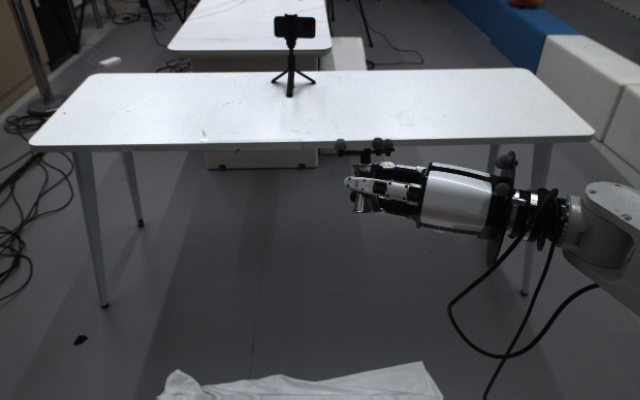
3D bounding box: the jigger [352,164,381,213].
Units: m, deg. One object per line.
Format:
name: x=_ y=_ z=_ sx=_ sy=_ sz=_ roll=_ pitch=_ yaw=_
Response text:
jigger: x=0.065 y=-0.018 z=0.688 sx=0.043 sy=0.071 sz=0.043 roll=-2 pitch=3 yaw=0
